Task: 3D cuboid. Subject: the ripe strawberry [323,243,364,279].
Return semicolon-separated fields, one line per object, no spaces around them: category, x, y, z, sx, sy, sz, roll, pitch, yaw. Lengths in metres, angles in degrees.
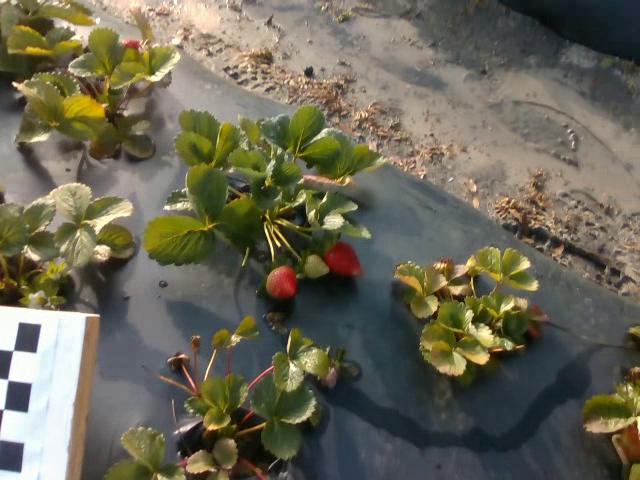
ripe strawberry;0.035;0.031;0.802;0.065;0.049;0.050;46;7;18
